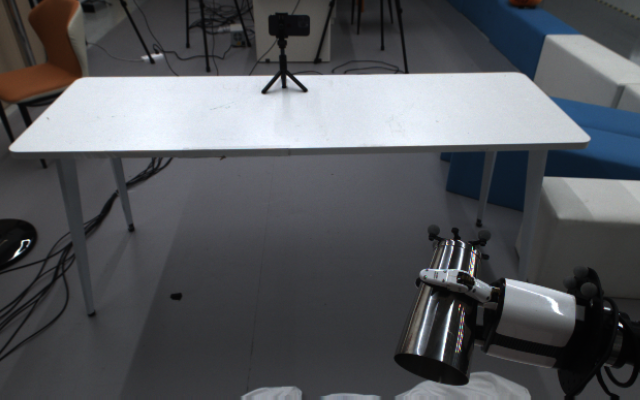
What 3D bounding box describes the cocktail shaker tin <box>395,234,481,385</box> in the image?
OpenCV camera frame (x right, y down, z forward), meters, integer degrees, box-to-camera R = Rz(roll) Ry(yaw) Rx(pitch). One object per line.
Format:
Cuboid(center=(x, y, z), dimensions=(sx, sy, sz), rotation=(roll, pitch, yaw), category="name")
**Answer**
Cuboid(center=(0.164, 0.139, 0.629), dimensions=(0.093, 0.093, 0.170), rotation=(13, 57, 15), category="cocktail shaker tin")
